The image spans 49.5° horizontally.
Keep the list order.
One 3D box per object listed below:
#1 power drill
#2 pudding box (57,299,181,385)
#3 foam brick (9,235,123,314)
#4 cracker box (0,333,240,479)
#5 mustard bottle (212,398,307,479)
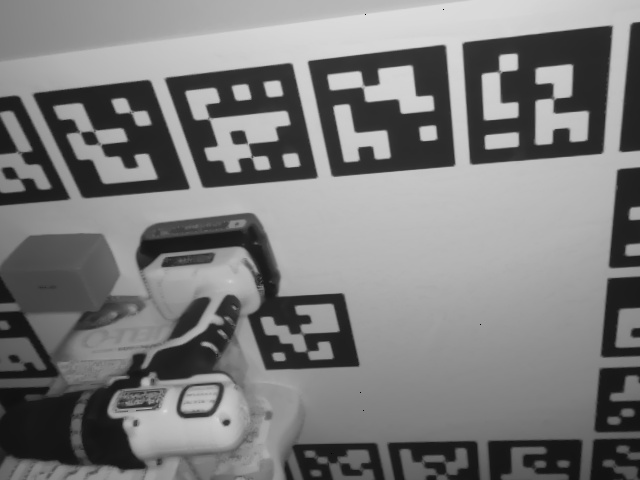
[{"bbox_3d":[-0.130,0.079,0.542,0.183,0.189,0.057,-6,126,12],"label":"power drill"},{"bbox_3d":[-0.170,0.097,0.643,0.113,0.091,0.038,-6,124,8],"label":"pudding box"},{"bbox_3d":[-0.234,0.032,0.647,0.078,0.052,0.052,-4,121,10],"label":"foam brick"},{"bbox_3d":[-0.174,0.168,0.625,0.163,0.215,0.071,-8,124,10],"label":"cracker box"},{"bbox_3d":[-0.070,0.240,0.668,0.096,0.193,0.058,6,123,4],"label":"mustard bottle"}]
